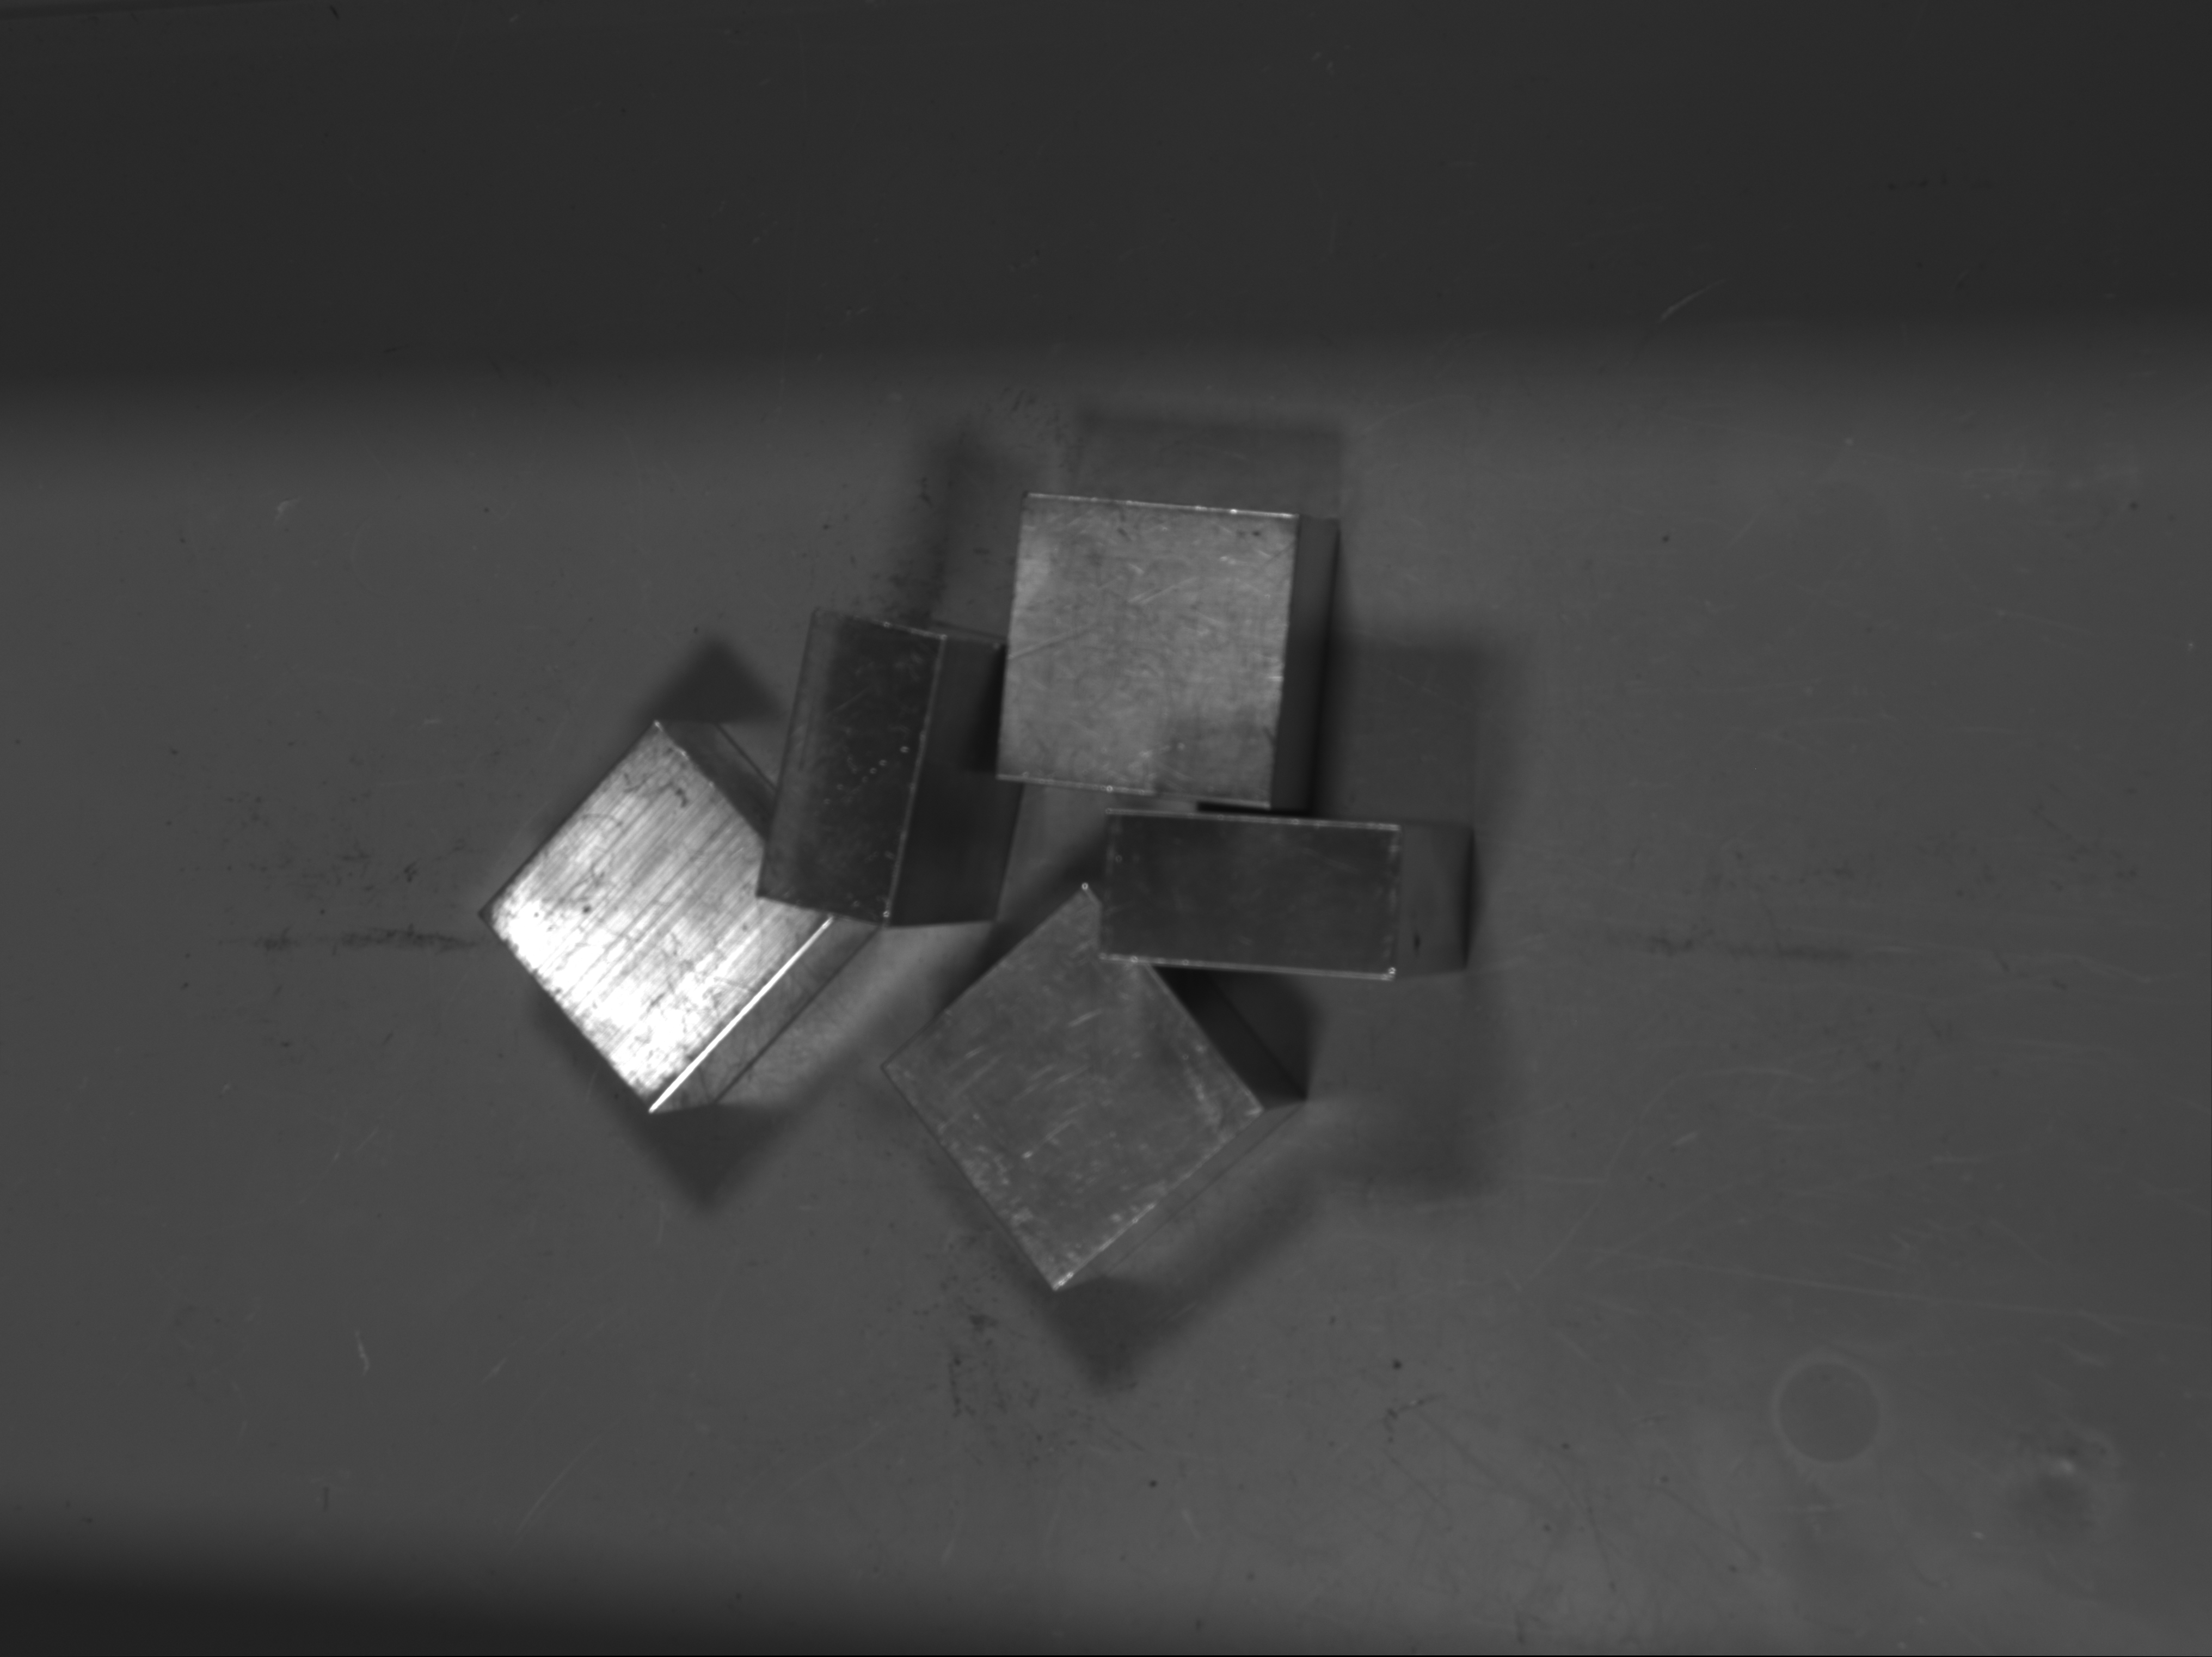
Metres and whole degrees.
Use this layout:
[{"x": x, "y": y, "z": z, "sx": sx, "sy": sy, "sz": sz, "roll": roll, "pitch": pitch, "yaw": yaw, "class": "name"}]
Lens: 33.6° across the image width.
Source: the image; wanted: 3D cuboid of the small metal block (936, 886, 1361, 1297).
[{"x": 0.008, "y": 0.045, "z": 0.640, "sx": 0.050, "sy": 0.025, "sz": 0.050, "roll": -42, "pitch": 77, "yaw": 15, "class": "small metal block"}]

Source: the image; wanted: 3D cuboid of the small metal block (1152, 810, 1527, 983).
[{"x": 0.040, "y": 0.011, "z": 0.615, "sx": 0.050, "sy": 0.050, "sz": 0.025, "roll": 3, "pitch": 91, "yaw": 20, "class": "small metal block"}]

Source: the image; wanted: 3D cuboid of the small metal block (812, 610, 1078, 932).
[{"x": -0.025, "y": -0.010, "z": 0.638, "sx": 0.025, "sy": 0.050, "sz": 0.050, "roll": 13, "pitch": 94, "yaw": 19, "class": "small metal block"}]

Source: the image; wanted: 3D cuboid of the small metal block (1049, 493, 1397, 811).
[{"x": 0.020, "y": -0.030, "z": 0.636, "sx": 0.050, "sy": 0.025, "sz": 0.050, "roll": 7, "pitch": 92, "yaw": 20, "class": "small metal block"}]

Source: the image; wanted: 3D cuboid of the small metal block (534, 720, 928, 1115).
[{"x": -0.067, "y": 0.016, "z": 0.667, "sx": 0.050, "sy": 0.025, "sz": 0.050, "roll": -47, "pitch": 76, "yaw": 14, "class": "small metal block"}]
